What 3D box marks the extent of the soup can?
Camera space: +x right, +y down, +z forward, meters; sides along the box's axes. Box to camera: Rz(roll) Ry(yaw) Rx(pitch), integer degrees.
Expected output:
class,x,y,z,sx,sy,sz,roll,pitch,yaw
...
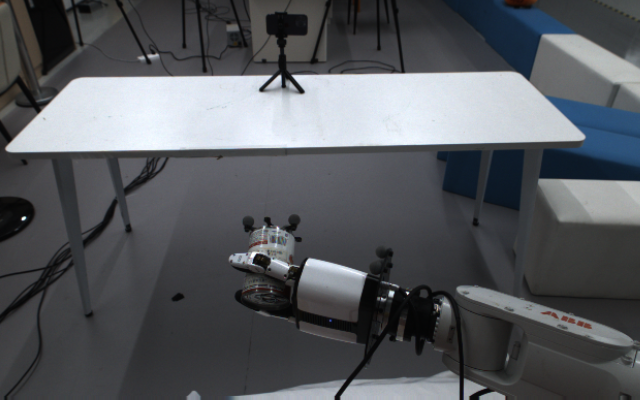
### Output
class,x,y,z,sx,sy,sz,roll,pitch,yaw
soup can,-0.071,0.096,0.679,0.067,0.067,0.101,3,56,1
